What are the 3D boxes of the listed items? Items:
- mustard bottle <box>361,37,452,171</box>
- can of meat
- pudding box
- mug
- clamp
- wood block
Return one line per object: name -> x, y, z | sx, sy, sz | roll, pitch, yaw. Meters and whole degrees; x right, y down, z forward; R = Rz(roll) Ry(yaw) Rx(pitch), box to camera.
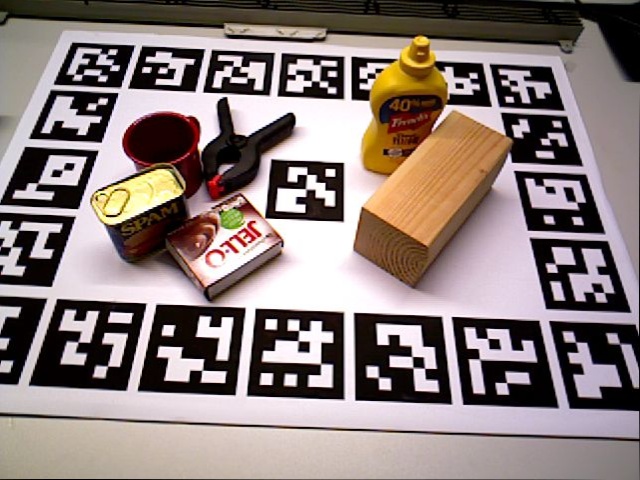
mustard bottle -> 0.108, -0.166, 0.661 | 0.095, 0.195, 0.057 | -2, 57, -4
can of meat -> -0.203, -0.027, 0.620 | 0.100, 0.085, 0.057 | -24, 63, -17
pudding box -> -0.108, 0.010, 0.633 | 0.112, 0.039, 0.090 | -33, 65, -23
mug -> -0.192, -0.101, 0.701 | 0.093, 0.083, 0.115 | 21, 60, 10
clamp -> -0.110, -0.127, 0.727 | 0.122, 0.037, 0.162 | 19, 61, 8
wood block -> 0.144, -0.047, 0.654 | 0.090, 0.093, 0.202 | 34, 60, 20
